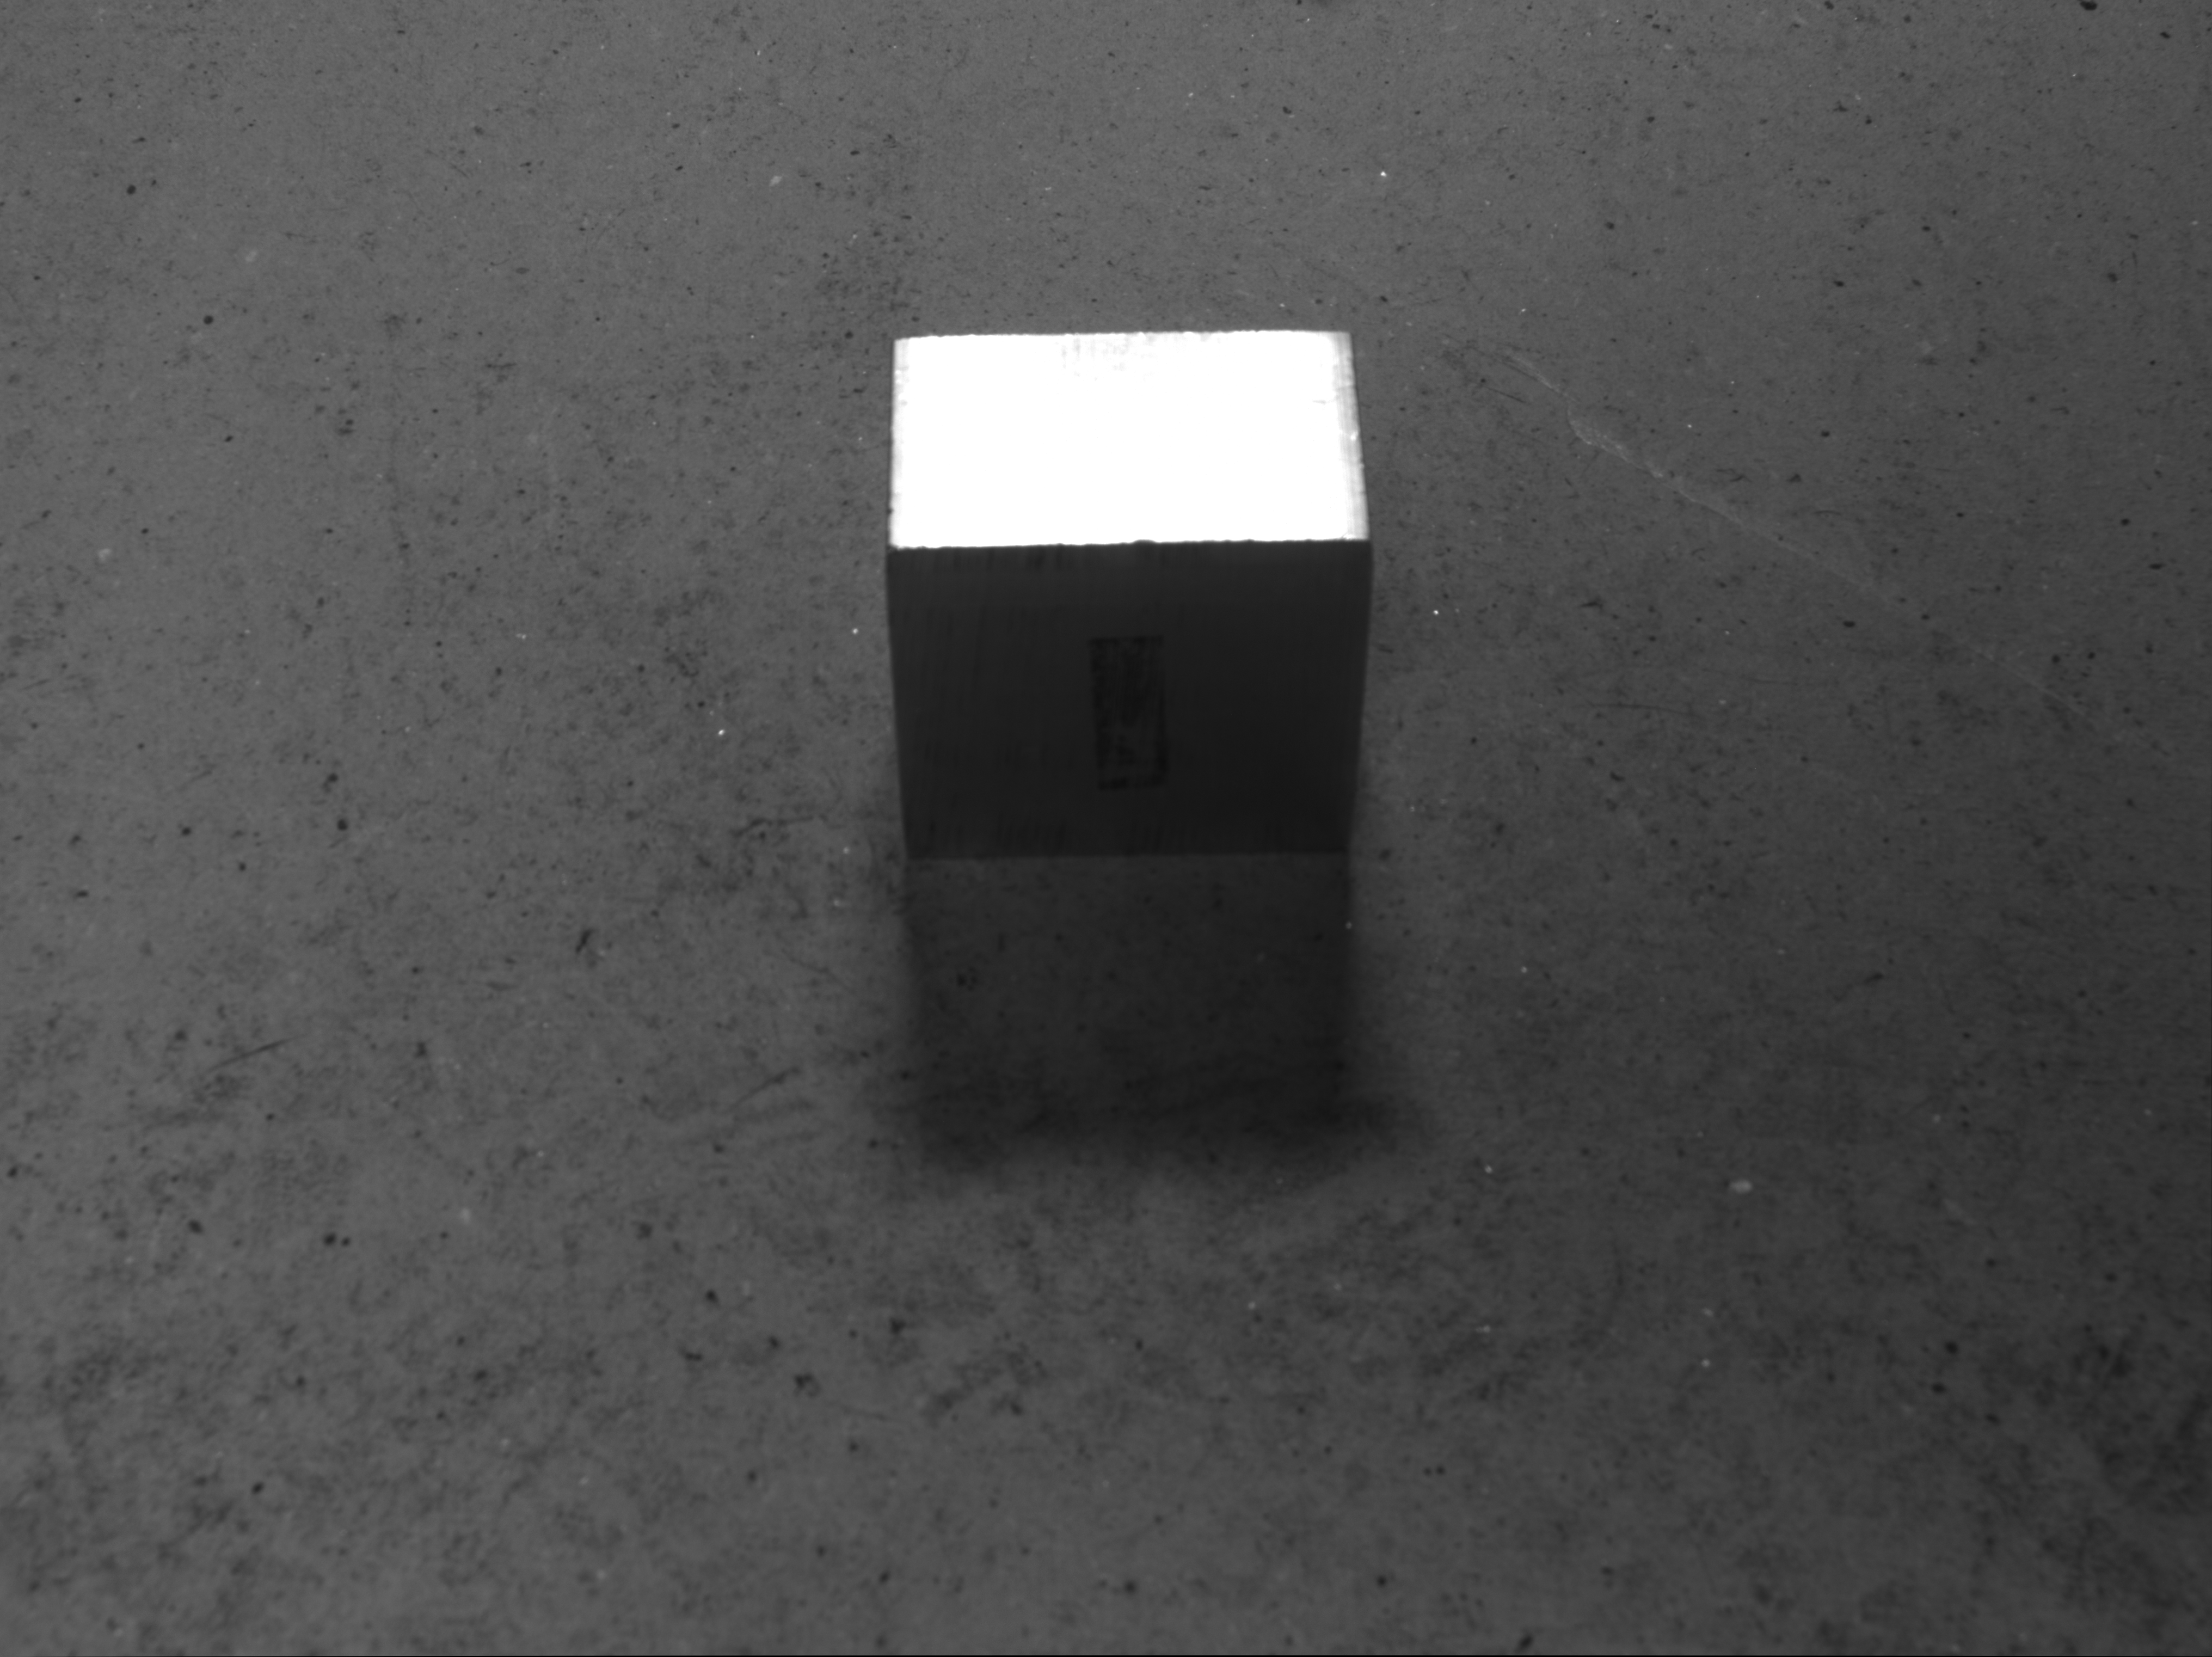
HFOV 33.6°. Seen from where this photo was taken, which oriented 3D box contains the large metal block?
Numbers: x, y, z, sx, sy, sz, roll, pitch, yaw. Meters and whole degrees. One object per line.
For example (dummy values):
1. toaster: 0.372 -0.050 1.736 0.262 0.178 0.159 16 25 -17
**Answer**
1. large metal block: 0.006 -0.039 0.640 0.080 0.080 0.050 -1 50 -1
